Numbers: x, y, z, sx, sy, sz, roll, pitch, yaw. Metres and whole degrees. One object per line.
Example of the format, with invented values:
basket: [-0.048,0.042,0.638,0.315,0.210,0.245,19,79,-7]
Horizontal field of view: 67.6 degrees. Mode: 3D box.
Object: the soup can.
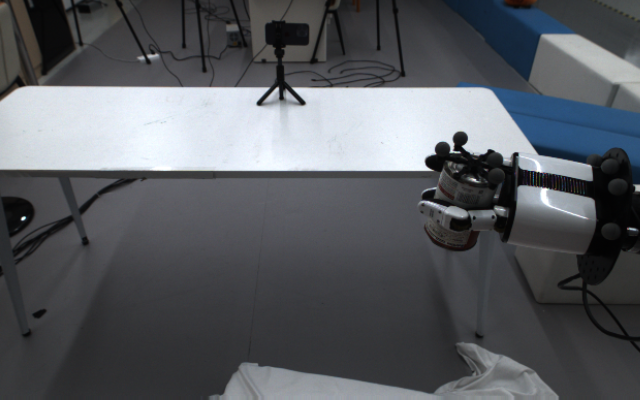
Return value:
soup can: [0.174,0.002,0.593,0.067,0.101,0.067,5,37,-4]
